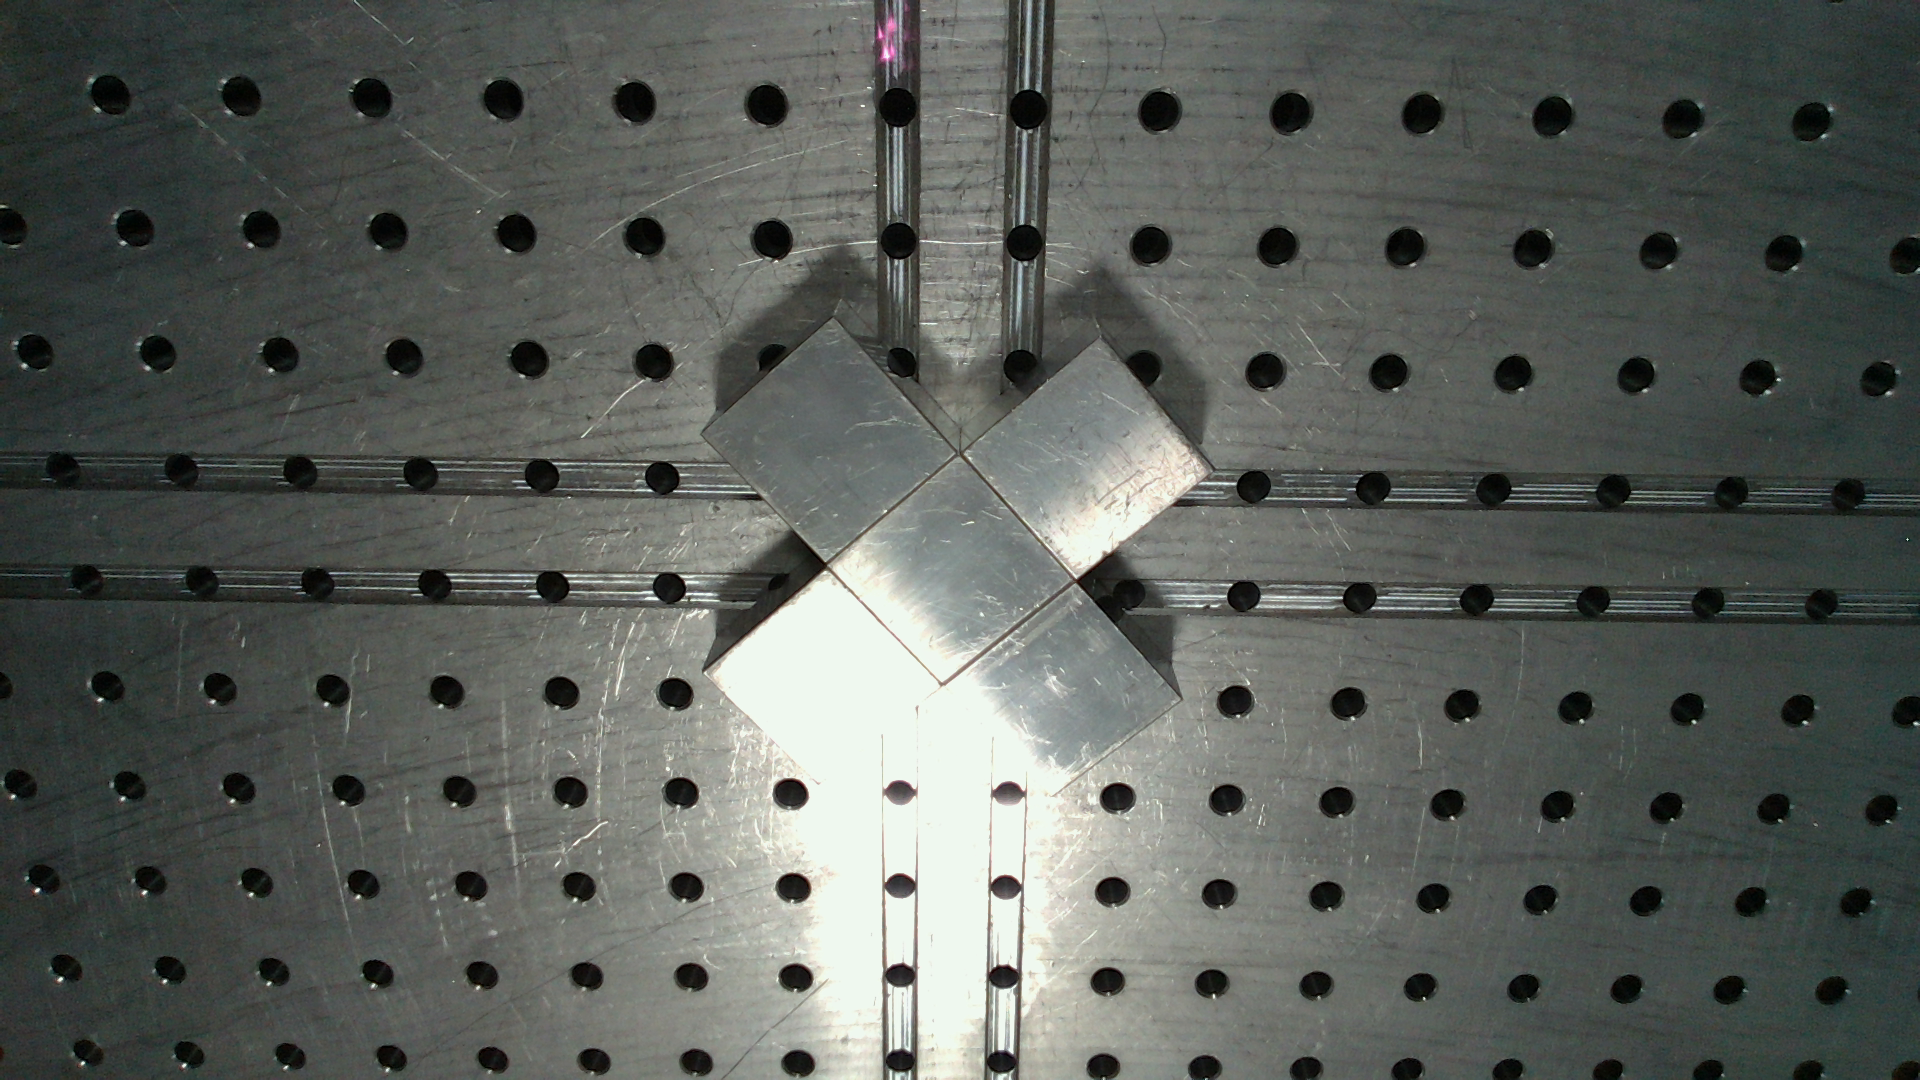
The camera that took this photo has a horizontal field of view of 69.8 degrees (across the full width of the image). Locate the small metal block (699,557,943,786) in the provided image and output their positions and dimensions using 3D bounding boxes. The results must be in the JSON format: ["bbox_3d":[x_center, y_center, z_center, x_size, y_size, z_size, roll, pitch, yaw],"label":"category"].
[{"bbox_3d":[-0.040,0.036,0.409,0.050,0.025,0.050,-40,106,13],"label":"small metal block"}]

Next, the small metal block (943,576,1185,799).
[{"bbox_3d":[0.030,0.040,0.411,0.050,0.025,0.050,-39,106,13],"label":"small metal block"}]

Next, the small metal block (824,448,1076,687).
[{"bbox_3d":[-0.003,0.005,0.397,0.050,0.025,0.050,-40,106,13],"label":"small metal block"}]

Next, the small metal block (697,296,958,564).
[{"bbox_3d":[-0.036,-0.031,0.385,0.050,0.025,0.050,-39,106,13],"label":"small metal block"}]

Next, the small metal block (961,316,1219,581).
[{"bbox_3d":[0.036,-0.026,0.387,0.050,0.025,0.050,-40,106,13],"label":"small metal block"}]
